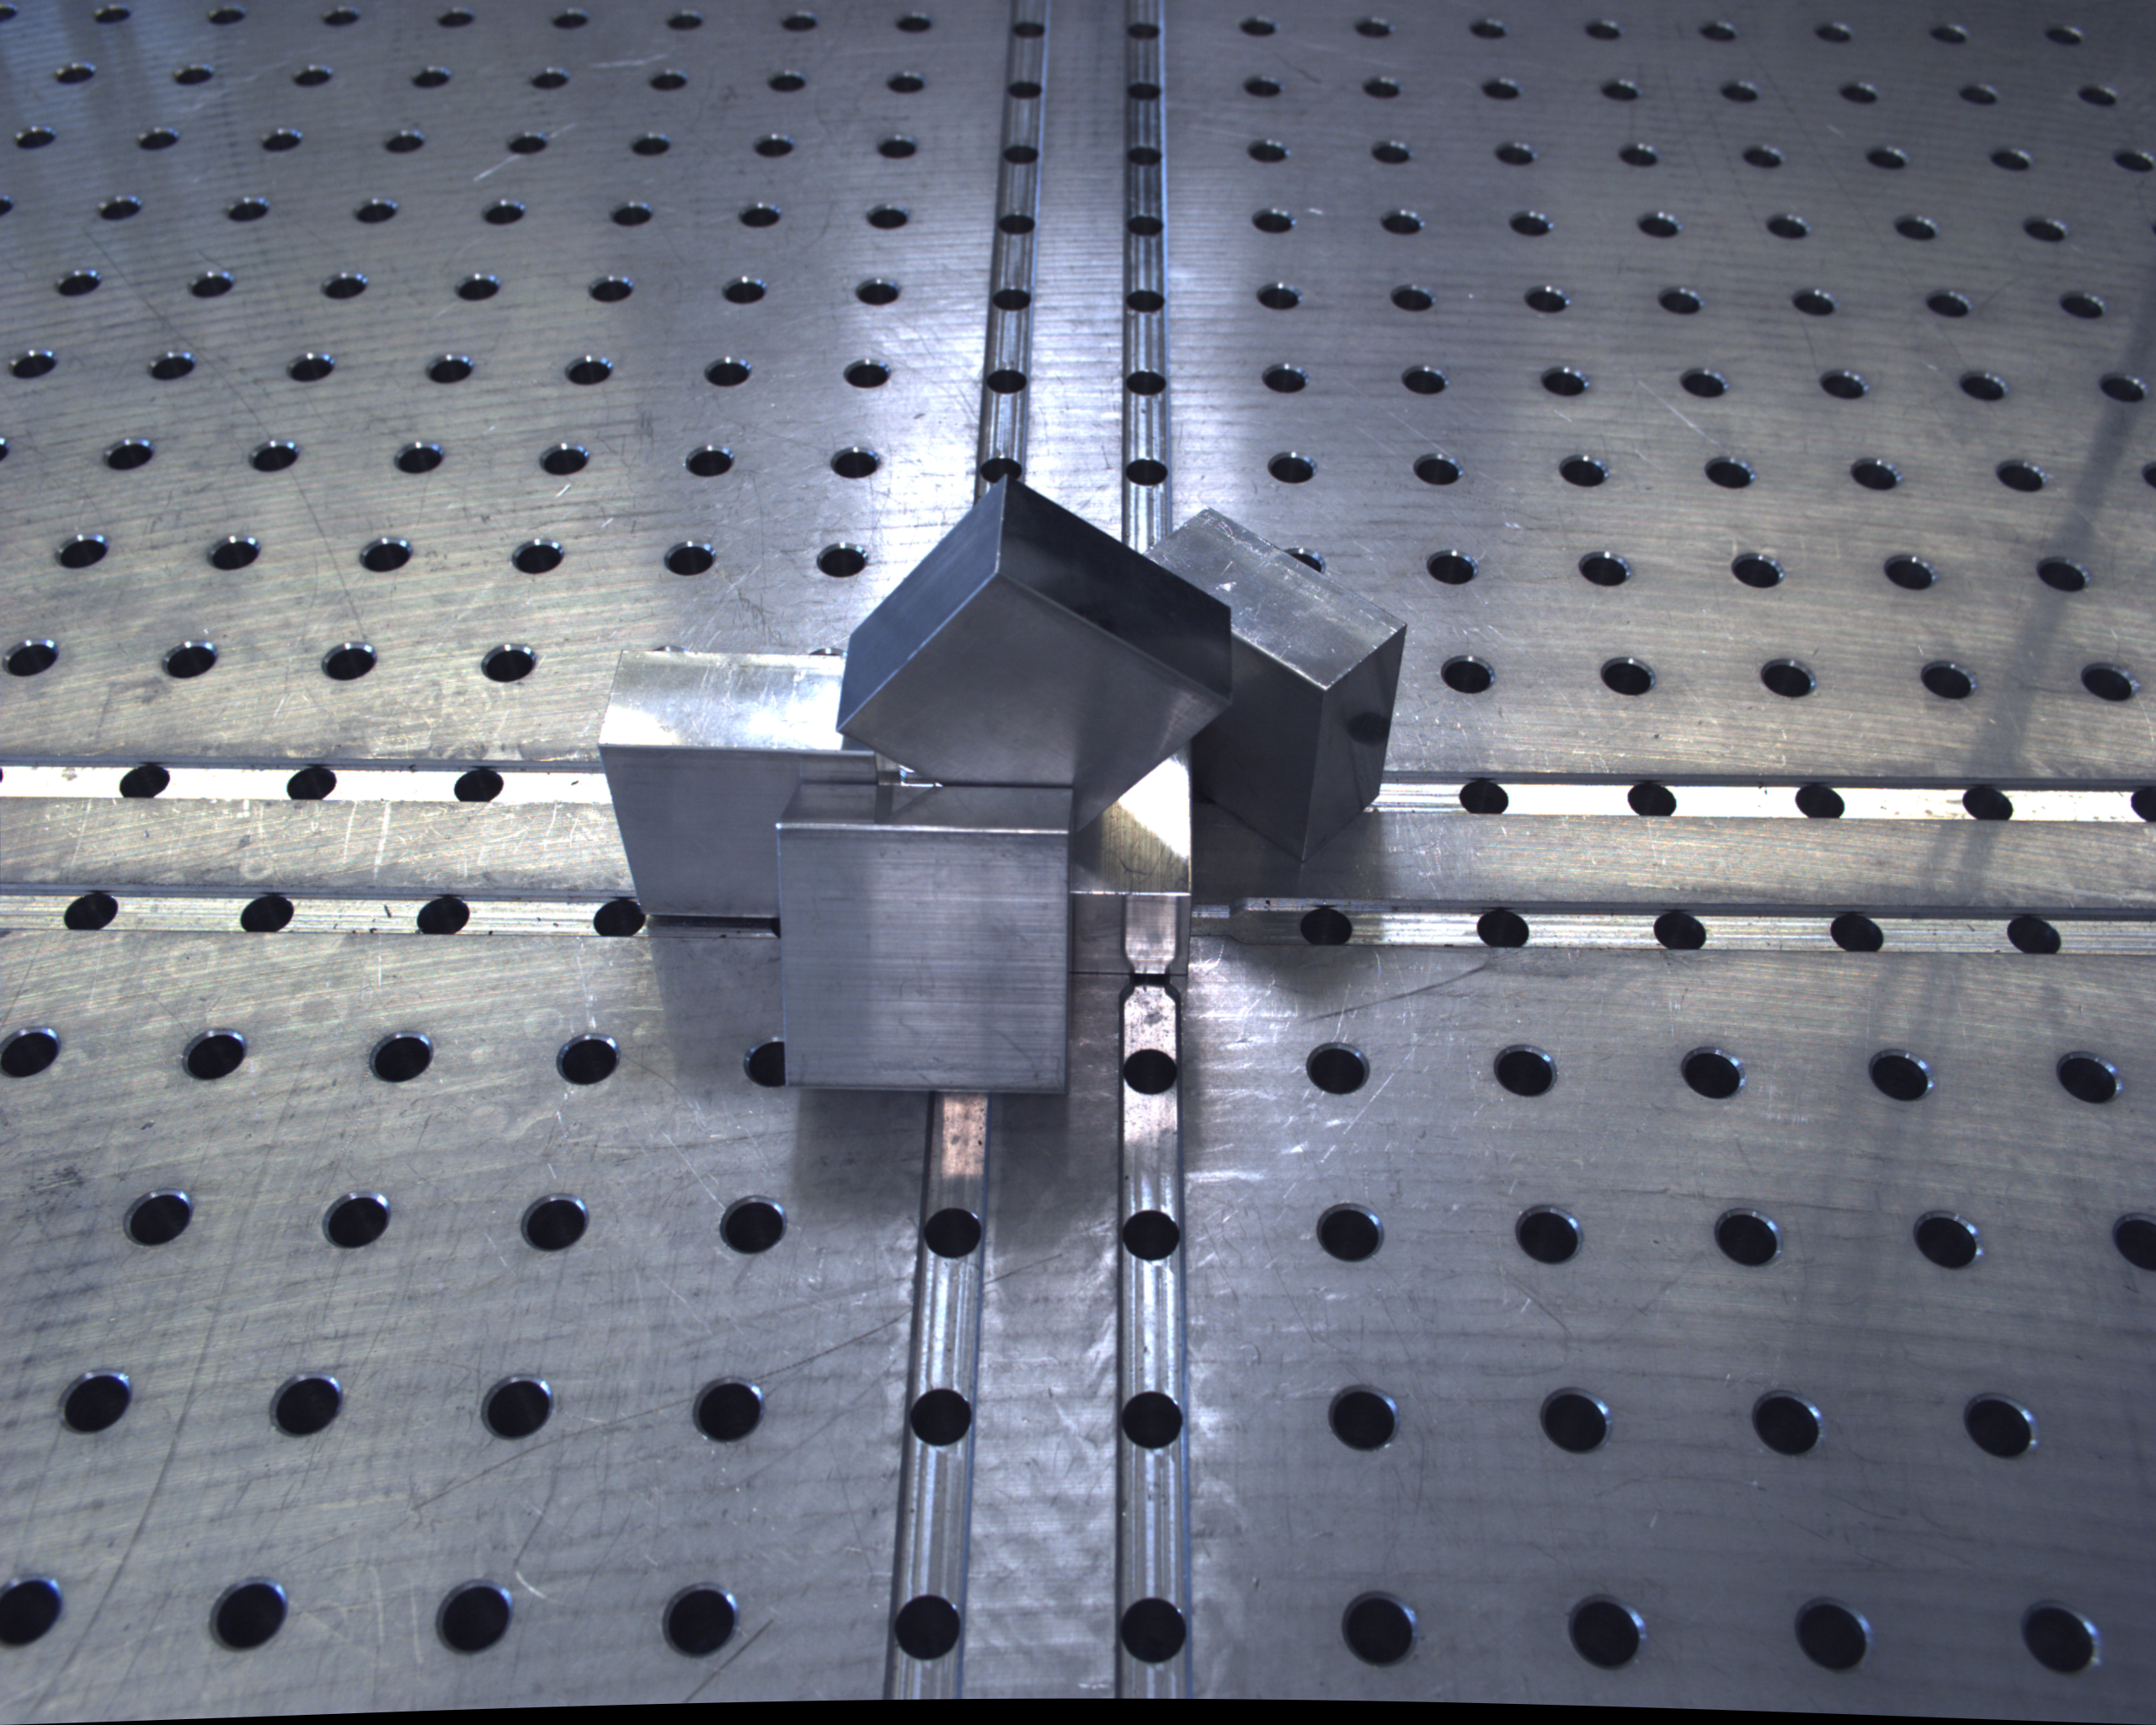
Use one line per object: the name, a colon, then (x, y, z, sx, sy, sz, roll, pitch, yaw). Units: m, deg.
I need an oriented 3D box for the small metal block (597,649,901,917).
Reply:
small metal block: (-0.061, -0.014, 0.403, 0.050, 0.050, 0.025, 1, 51, 1)

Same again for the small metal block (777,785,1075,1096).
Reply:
small metal block: (-0.026, 0.014, 0.377, 0.050, 0.050, 0.025, 1, 18, 1)

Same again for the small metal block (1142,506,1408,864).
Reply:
small metal block: (0.036, -0.036, 0.422, 0.050, 0.050, 0.025, 36, 58, 26)

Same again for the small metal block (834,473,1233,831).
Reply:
small metal block: (-0.008, -0.034, 0.375, 0.050, 0.050, 0.025, 27, 45, -26)

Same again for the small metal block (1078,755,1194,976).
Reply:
small metal block: (-0.003, -0.006, 0.412, 0.050, 0.025, 0.050, 2, 50, 0)
